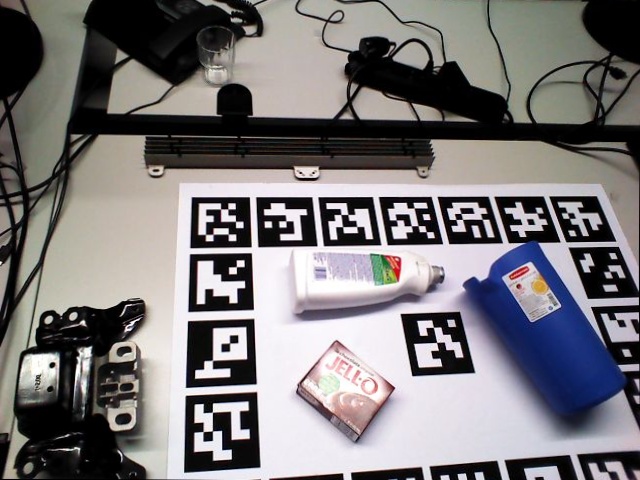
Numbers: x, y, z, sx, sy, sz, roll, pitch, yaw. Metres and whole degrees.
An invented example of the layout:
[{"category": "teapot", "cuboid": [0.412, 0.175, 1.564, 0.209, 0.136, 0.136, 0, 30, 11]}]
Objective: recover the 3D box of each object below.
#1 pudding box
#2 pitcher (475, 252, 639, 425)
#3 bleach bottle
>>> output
[{"category": "pudding box", "cuboid": [0.049, 0.218, 0.728, 0.114, 0.039, 0.089, 40, 57, 13]}, {"category": "pitcher", "cuboid": [0.363, 0.143, 0.785, 0.188, 0.134, 0.242, -6, 61, -51]}, {"category": "bleach bottle", "cuboid": [0.094, 0.063, 0.814, 0.250, 0.068, 0.102, -3, 65, -11]}]
